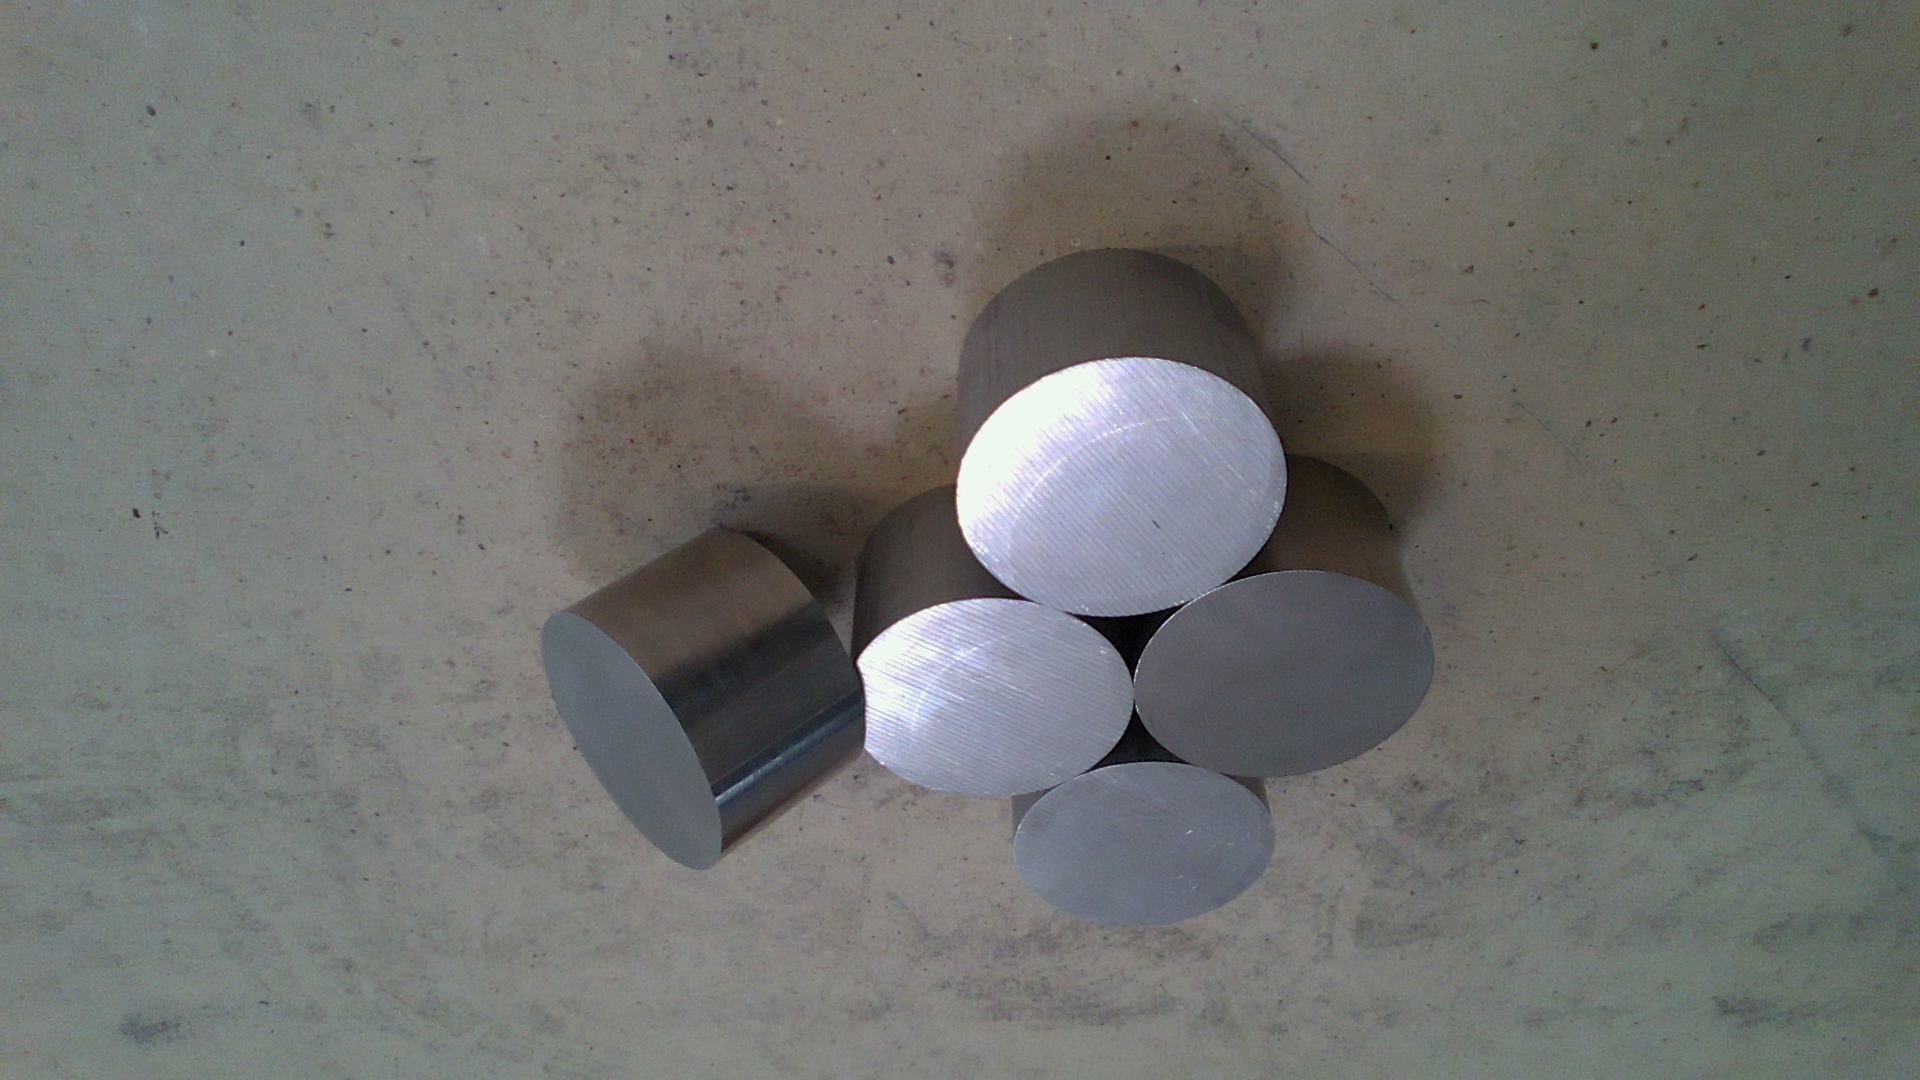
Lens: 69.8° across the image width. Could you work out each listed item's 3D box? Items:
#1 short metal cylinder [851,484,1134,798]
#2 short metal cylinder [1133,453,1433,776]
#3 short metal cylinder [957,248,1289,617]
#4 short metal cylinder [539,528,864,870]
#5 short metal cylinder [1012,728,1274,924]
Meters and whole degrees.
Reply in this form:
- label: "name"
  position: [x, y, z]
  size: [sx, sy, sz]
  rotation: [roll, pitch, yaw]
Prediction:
- label: "short metal cylinder"
  position: [0.008, 0.029, 0.399]
  size: [0.080, 0.050, 0.080]
  rotation: [0, 130, 0]
- label: "short metal cylinder"
  position: [0.088, 0.022, 0.393]
  size: [0.080, 0.050, 0.080]
  rotation: [0, 130, 0]
- label: "short metal cylinder"
  position: [0.039, -0.027, 0.352]
  size: [0.080, 0.050, 0.080]
  rotation: [0, 130, 0]
- label: "short metal cylinder"
  position: [-0.072, 0.044, 0.384]
  size: [0.080, 0.050, 0.080]
  rotation: [31, 138, 33]
- label: "short metal cylinder"
  position: [0.056, 0.078, 0.441]
  size: [0.080, 0.050, 0.080]
  rotation: [0, 130, 0]
